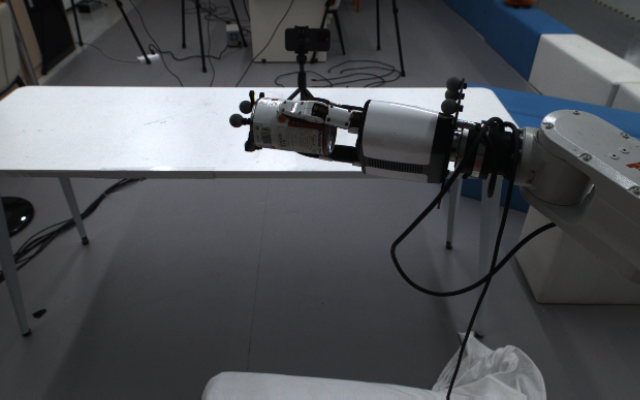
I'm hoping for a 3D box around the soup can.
[{"bbox_3d":[-0.031,-0.097,0.635,0.101,0.067,0.067,7,35,10],"label":"soup can"}]
